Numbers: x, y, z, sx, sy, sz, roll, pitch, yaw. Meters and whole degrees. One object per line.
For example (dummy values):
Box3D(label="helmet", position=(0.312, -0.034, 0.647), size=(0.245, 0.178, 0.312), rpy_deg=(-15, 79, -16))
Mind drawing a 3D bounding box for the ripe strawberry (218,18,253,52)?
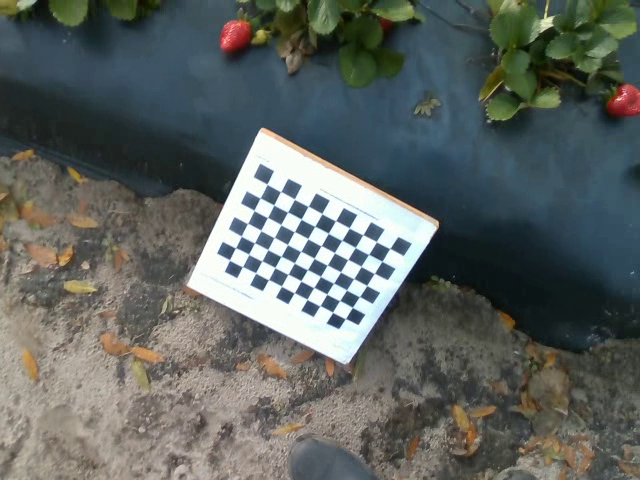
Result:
Box3D(label="ripe strawberry", position=(-0.125, -0.280, 0.610), size=(0.045, 0.058, 0.051), rpy_deg=(30, -28, -6))
